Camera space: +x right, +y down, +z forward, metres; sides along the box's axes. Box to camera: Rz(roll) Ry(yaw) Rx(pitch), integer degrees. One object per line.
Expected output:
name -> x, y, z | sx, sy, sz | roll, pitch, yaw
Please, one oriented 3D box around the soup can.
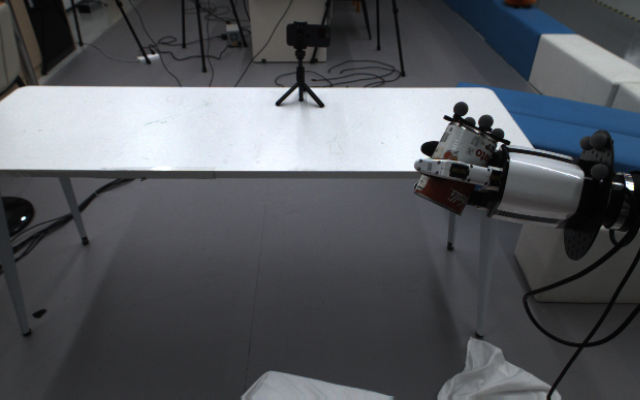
soup can -> 0.173, -0.040, 0.617 | 0.067, 0.101, 0.067 | 26, 5, -3
